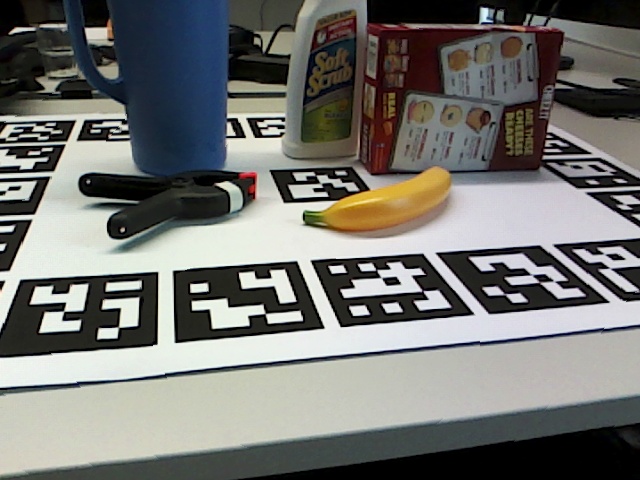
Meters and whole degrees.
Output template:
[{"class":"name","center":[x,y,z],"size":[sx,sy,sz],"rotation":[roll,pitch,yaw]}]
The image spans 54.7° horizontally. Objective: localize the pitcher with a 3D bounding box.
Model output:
[{"class":"pitcher","center":[-0.172,-0.203,0.674],"size":[0.188,0.242,0.134],"rotation":[-11,27,-31]}]

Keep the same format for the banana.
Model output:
[{"class":"banana","center":[0.086,-0.036,0.641],"size":[0.075,0.039,0.196],"rotation":[22,32,37]}]

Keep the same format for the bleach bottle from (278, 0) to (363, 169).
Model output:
[{"class":"bleach bottle","center":[-0.001,-0.216,0.758],"size":[0.102,0.250,0.068],"rotation":[-5,25,-13]}]

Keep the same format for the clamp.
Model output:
[{"class":"clamp","center":[-0.133,-0.036,0.611],"size":[0.164,0.036,0.123],"rotation":[-11,26,-29]}]

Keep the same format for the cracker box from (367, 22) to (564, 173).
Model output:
[{"class":"cracker box","center":[0.166,-0.172,0.737],"size":[0.213,0.164,0.072],"rotation":[-5,23,-10]}]
